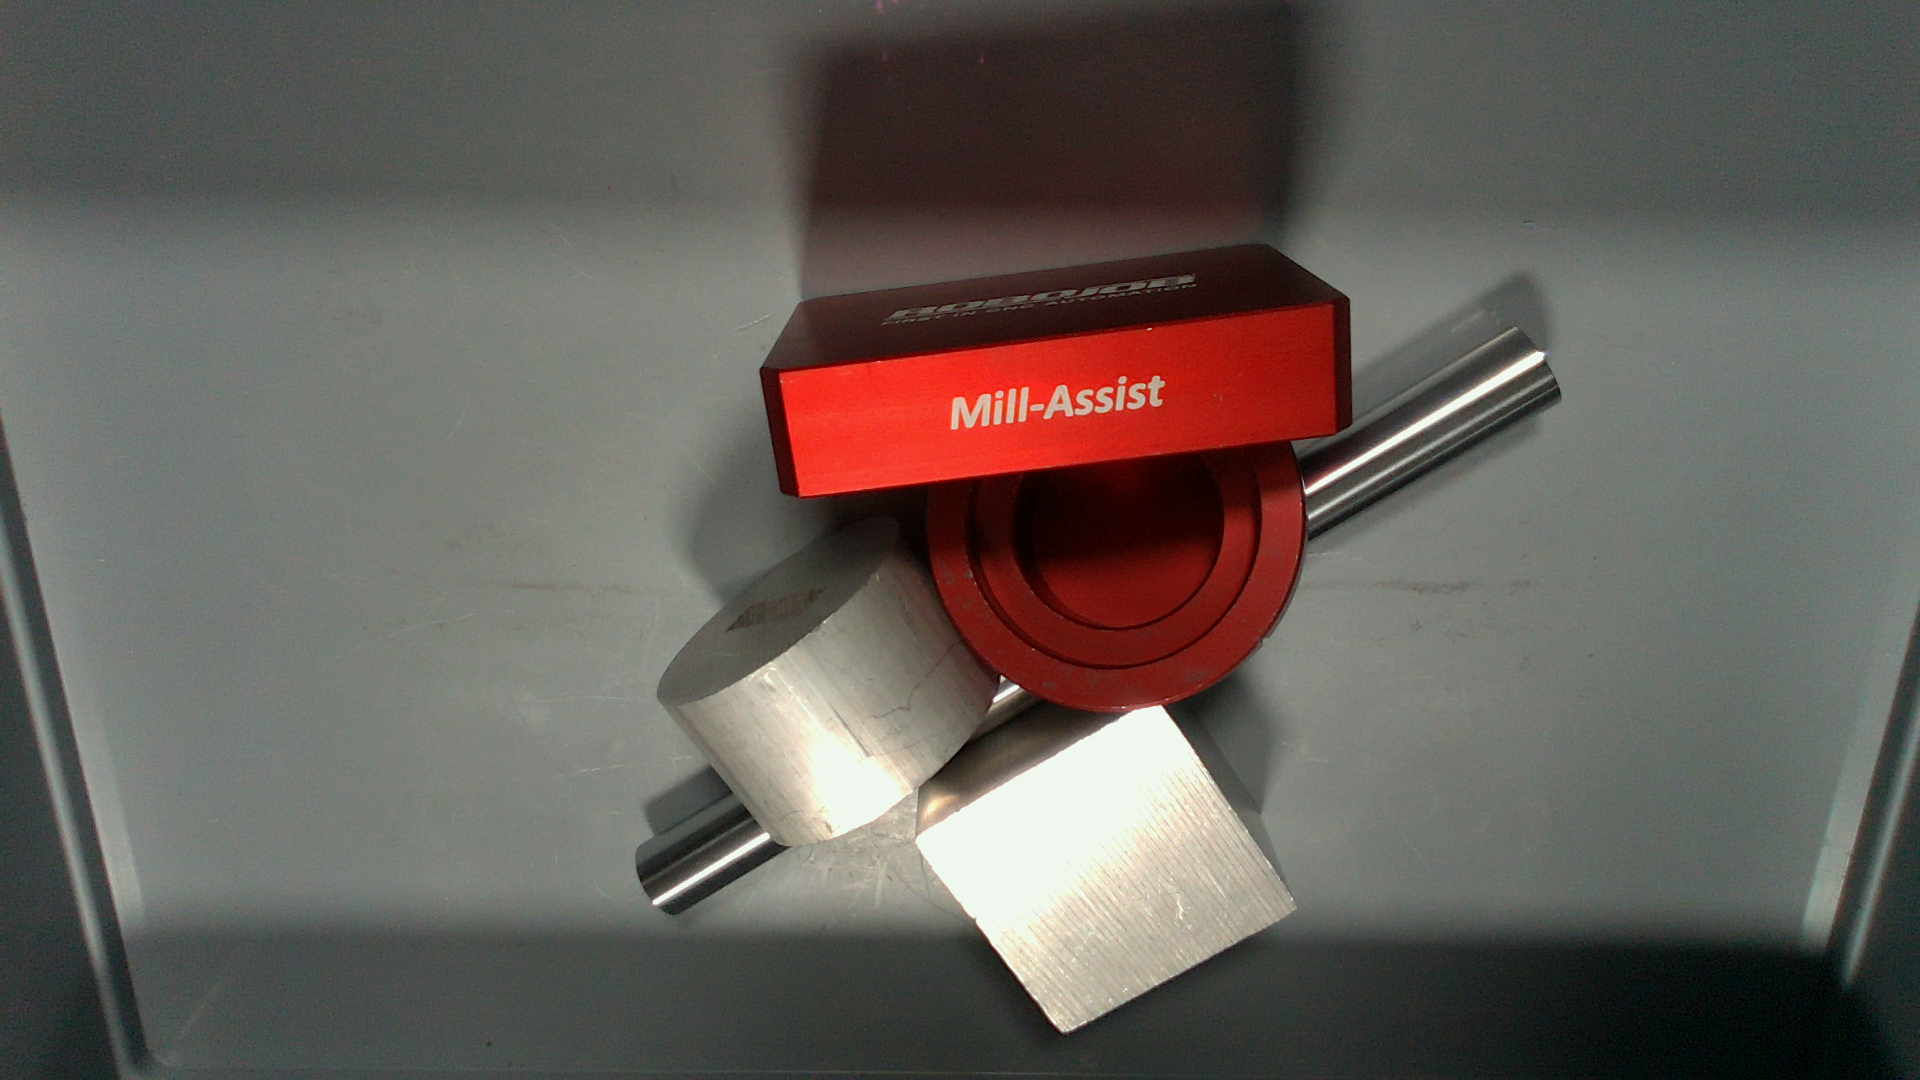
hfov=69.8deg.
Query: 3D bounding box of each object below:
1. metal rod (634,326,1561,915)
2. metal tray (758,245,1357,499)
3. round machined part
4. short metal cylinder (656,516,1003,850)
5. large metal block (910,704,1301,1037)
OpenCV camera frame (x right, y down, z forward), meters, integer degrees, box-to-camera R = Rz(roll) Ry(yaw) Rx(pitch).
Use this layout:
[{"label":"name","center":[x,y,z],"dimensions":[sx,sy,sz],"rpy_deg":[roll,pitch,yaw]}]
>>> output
[{"label":"metal rod","center":[0.031,0.029,0.404],"dimensions":[0.300,0.025,0.025],"rpy_deg":[-31,107,11]},{"label":"metal tray","center":[0.022,-0.045,0.341],"dimensions":[0.130,0.090,0.030],"rpy_deg":[-6,110,2]},{"label":"round machined part","center":[0.044,-0.004,0.368],"dimensions":[0.098,0.042,0.098],"rpy_deg":[-1,85,15]},{"label":"short metal cylinder","center":[-0.035,0.038,0.377],"dimensions":[0.080,0.080,0.050],"rpy_deg":[-32,107,11]},{"label":"large metal block","center":[0.042,0.086,0.410],"dimensions":[0.080,0.050,0.080],"rpy_deg":[-31,107,11]}]
